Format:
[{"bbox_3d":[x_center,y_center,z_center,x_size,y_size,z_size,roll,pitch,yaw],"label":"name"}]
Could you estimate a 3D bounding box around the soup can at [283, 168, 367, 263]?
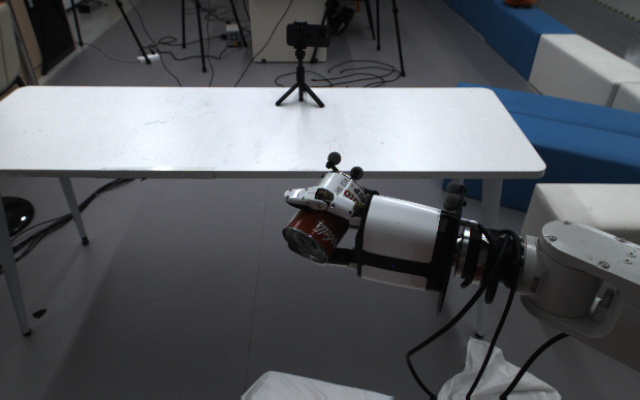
[{"bbox_3d":[0.009,0.020,0.615,0.067,0.067,0.101,22,60,26],"label":"soup can"}]
